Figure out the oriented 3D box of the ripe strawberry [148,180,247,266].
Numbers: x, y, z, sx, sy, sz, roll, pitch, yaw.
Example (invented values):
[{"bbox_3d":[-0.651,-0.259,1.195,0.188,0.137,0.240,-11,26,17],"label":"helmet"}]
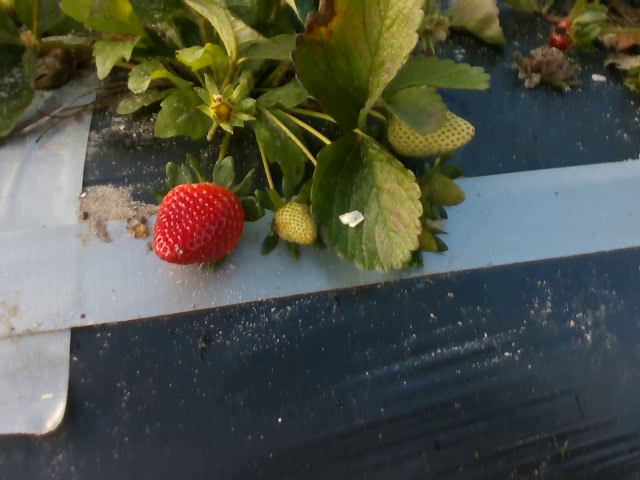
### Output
[{"bbox_3d":[-0.026,-0.003,0.125,0.023,0.020,0.026,-8,31,15],"label":"ripe strawberry"}]
